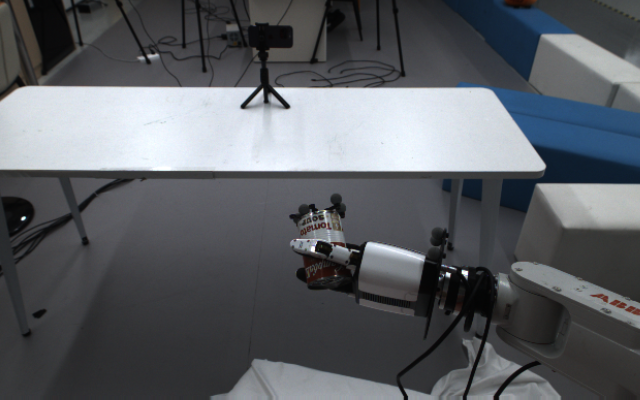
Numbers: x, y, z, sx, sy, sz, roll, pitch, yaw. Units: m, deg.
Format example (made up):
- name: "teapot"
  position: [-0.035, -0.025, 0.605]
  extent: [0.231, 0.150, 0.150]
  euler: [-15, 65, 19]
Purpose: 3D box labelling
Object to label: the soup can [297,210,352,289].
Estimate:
- name: "soup can"
  position: [0.008, 0.075, 0.711]
  extent: [0.067, 0.067, 0.101]
  euler: [-6, 68, -12]
